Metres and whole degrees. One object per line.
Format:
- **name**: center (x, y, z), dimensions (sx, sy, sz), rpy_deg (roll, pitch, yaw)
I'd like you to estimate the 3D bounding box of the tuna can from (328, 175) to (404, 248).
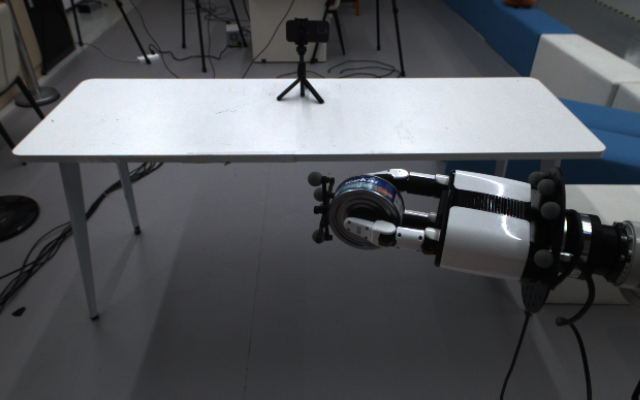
- **tuna can**: center (0.056, 0.016, 0.558), dimensions (0.085, 0.085, 0.034), rpy_deg (9, 32, 10)
